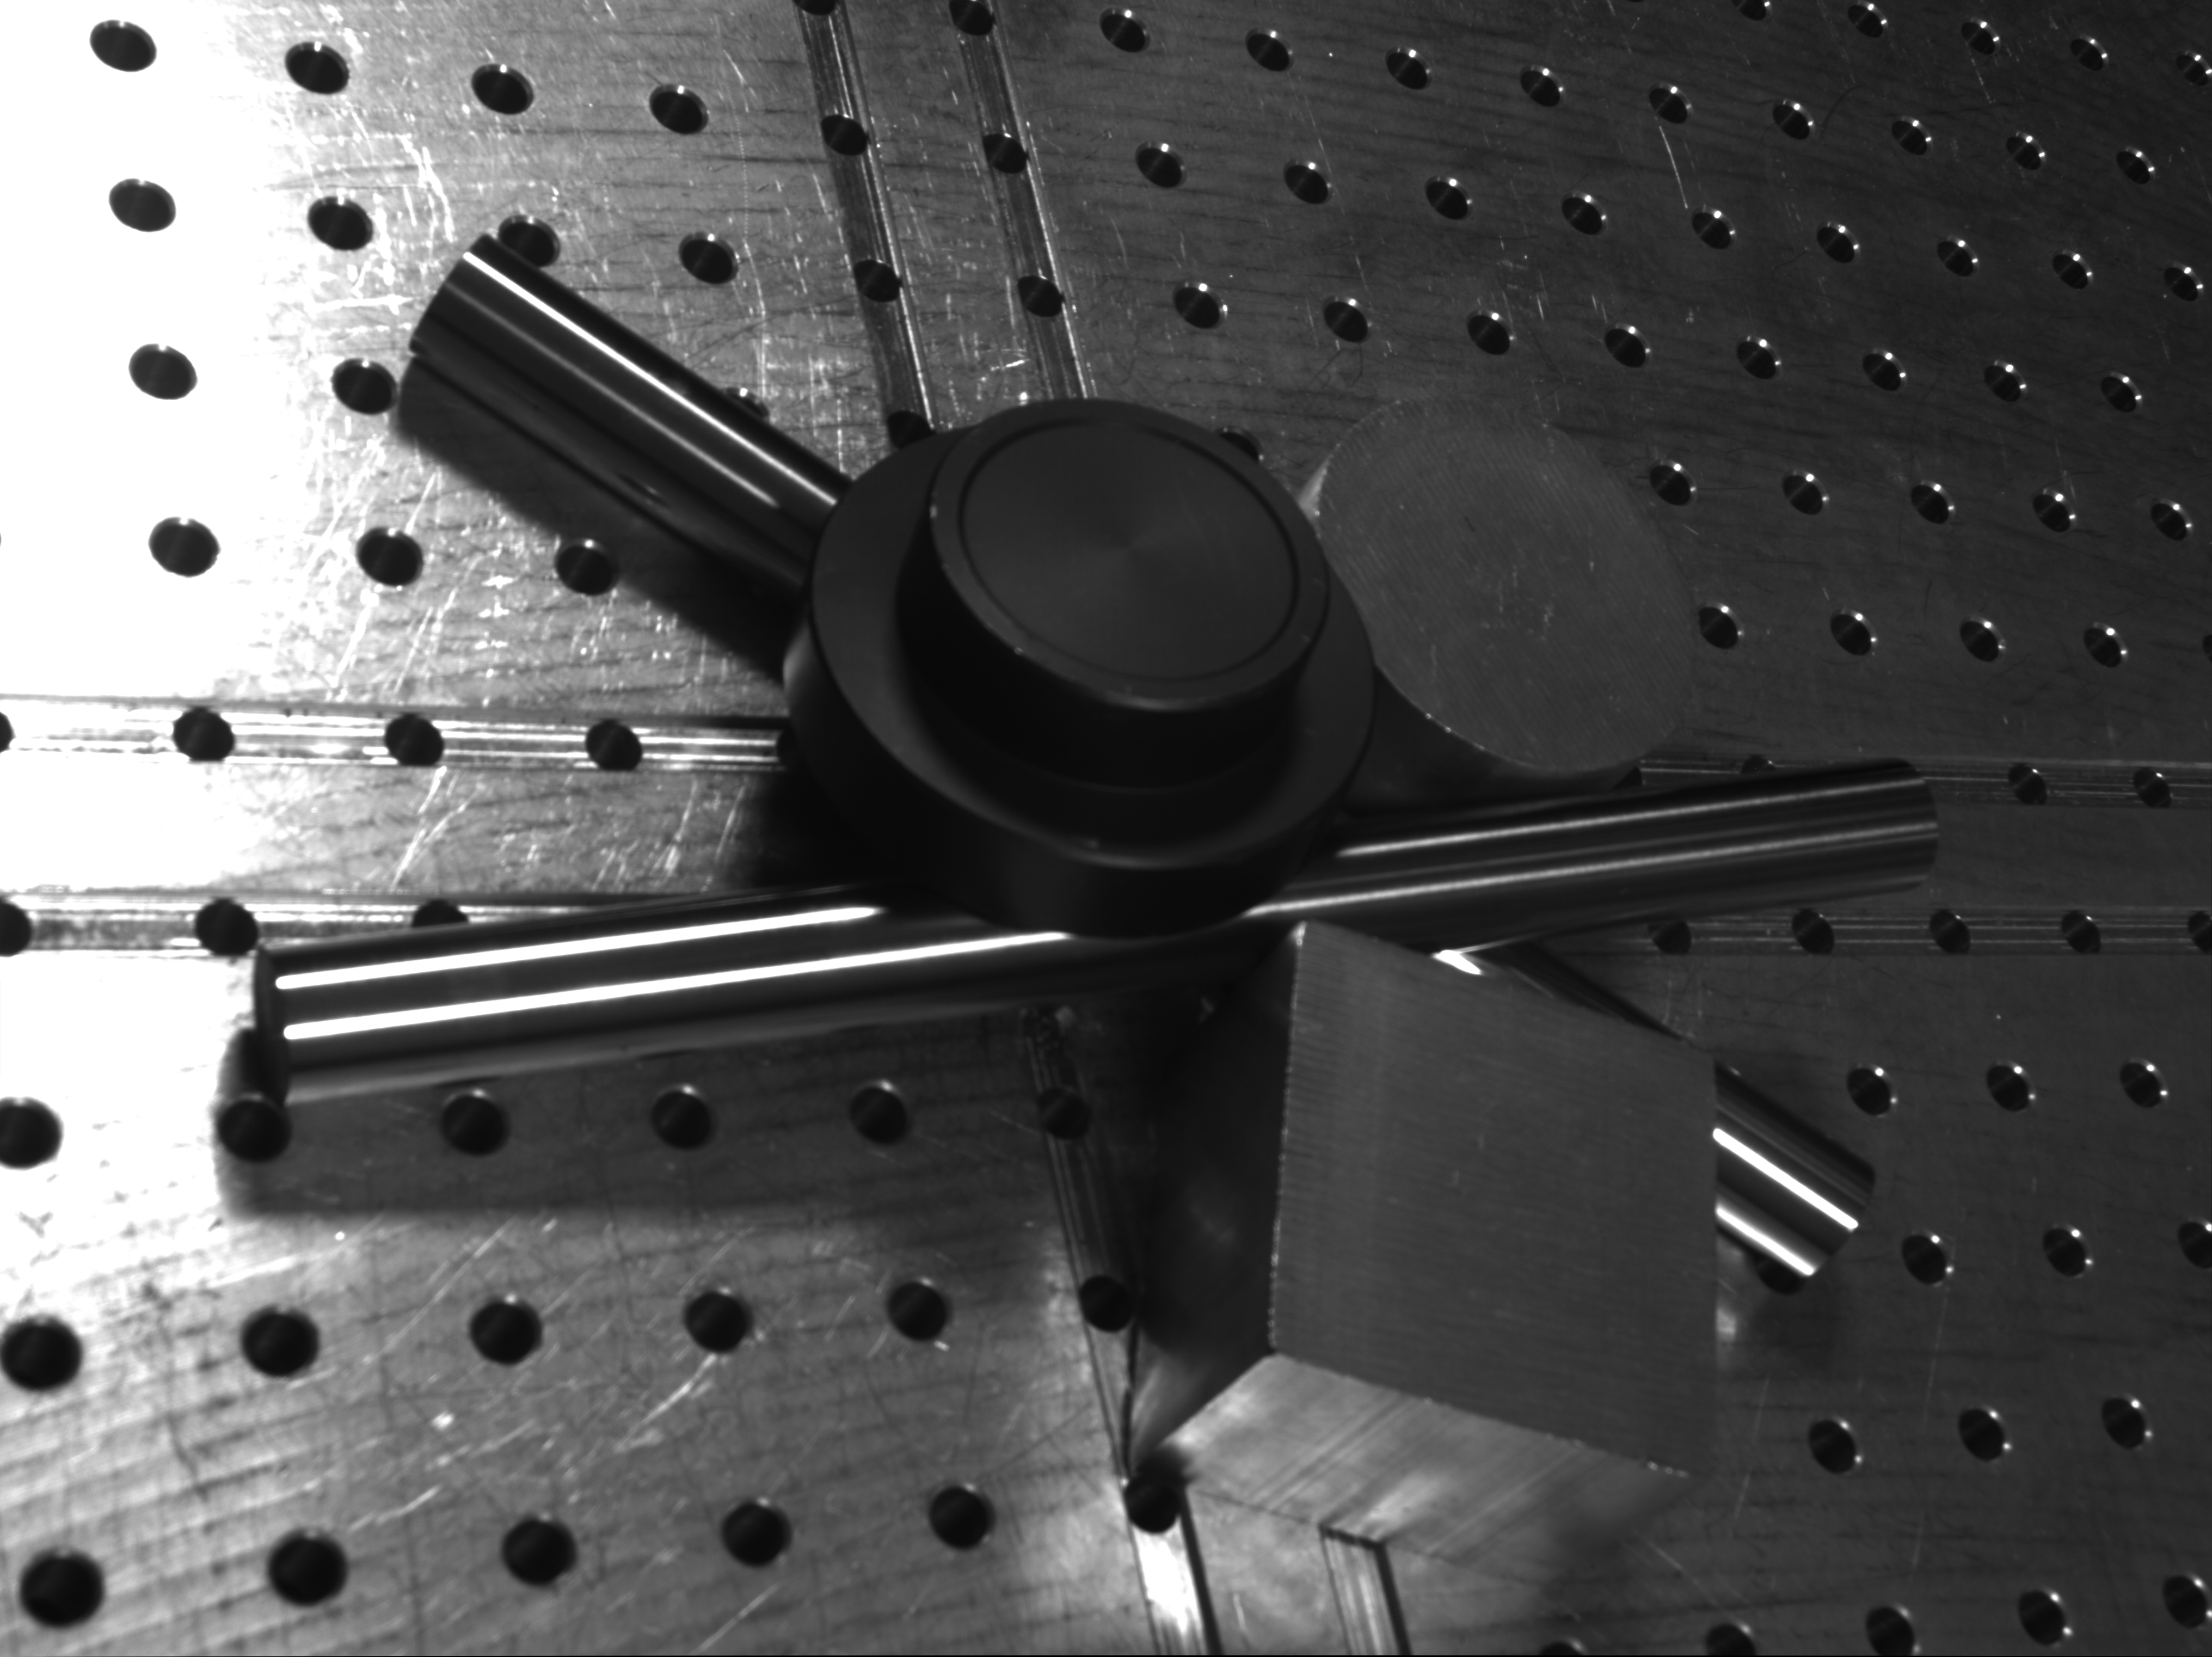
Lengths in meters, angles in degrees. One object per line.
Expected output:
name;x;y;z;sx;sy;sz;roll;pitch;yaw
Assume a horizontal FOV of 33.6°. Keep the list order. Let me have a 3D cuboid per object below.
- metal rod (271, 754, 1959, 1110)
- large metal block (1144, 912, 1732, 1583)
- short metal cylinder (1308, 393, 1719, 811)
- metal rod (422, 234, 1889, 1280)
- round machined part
metal rod;0.012;0.015;0.617;0.301;0.025;0.025;-7;65;-23
large metal block;0.057;0.071;0.611;0.080;0.050;0.080;19;54;-17
short metal cylinder;0.066;-0.034;0.682;0.080;0.050;0.080;14;56;-21
metal rod;0.012;-0.011;0.656;0.300;0.025;0.025;34;51;-6
round machined part;0.001;-0.032;0.609;0.098;0.042;0.098;11;50;-13
